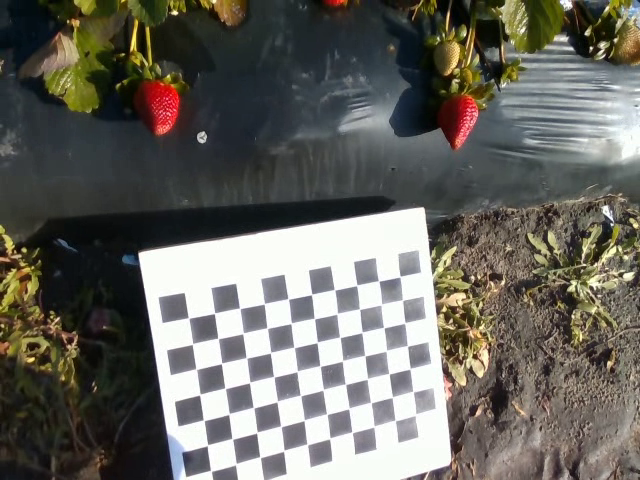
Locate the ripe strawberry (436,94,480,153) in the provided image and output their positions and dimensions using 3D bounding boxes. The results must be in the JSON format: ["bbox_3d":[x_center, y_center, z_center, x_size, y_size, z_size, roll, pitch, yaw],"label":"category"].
[{"bbox_3d":[0.125,-0.107,0.542,0.042,0.059,0.042,15,-13,-22],"label":"ripe strawberry"}]

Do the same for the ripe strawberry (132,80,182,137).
[{"bbox_3d":[-0.136,-0.108,0.493,0.045,0.055,0.042,-1,-28,-22],"label":"ripe strawberry"}]
